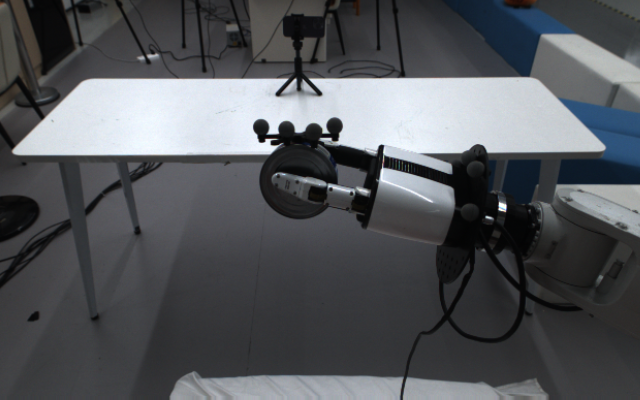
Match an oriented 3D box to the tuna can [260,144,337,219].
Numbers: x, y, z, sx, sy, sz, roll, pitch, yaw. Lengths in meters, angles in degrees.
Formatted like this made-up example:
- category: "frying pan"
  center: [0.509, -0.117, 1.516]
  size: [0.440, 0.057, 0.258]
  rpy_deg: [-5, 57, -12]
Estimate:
- category: "tuna can"
  center: [-0.019, -0.019, 0.538]
  size: [0.085, 0.085, 0.034]
  rpy_deg: [4, 18, 3]
